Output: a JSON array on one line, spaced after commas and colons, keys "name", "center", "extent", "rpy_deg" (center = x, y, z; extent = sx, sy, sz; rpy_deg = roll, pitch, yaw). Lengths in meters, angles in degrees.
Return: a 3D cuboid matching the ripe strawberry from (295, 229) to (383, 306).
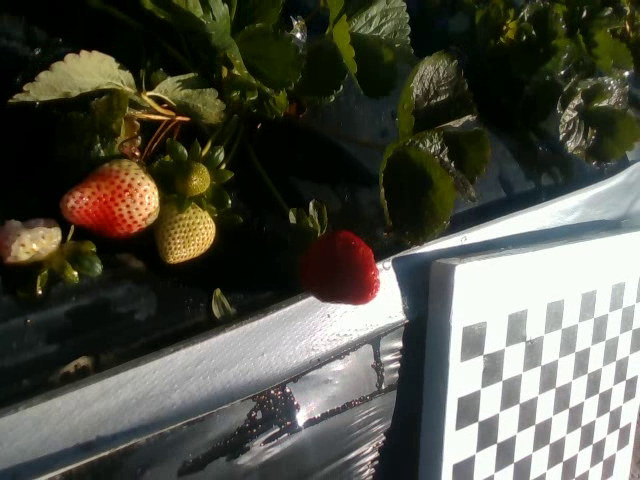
[{"name": "ripe strawberry", "center": [0.010, 0.016, 0.258], "extent": [0.036, 0.038, 0.045], "rpy_deg": [-8, 29, -34]}]
